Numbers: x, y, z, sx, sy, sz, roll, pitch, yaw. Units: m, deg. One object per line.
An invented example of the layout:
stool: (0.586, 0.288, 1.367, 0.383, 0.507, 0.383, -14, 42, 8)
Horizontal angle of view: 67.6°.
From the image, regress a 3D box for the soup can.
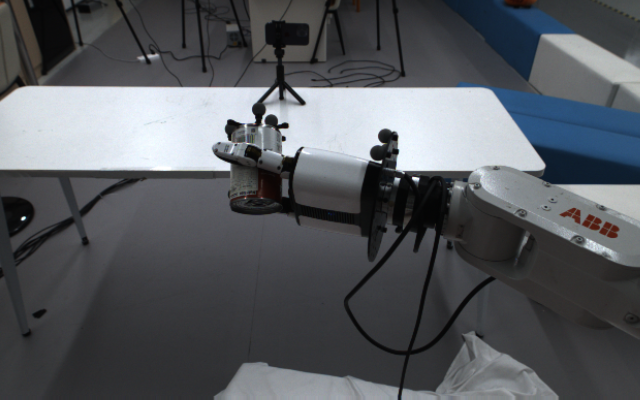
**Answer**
soup can: (-0.080, -0.038, 0.620, 0.067, 0.067, 0.101, -1, 71, -5)
